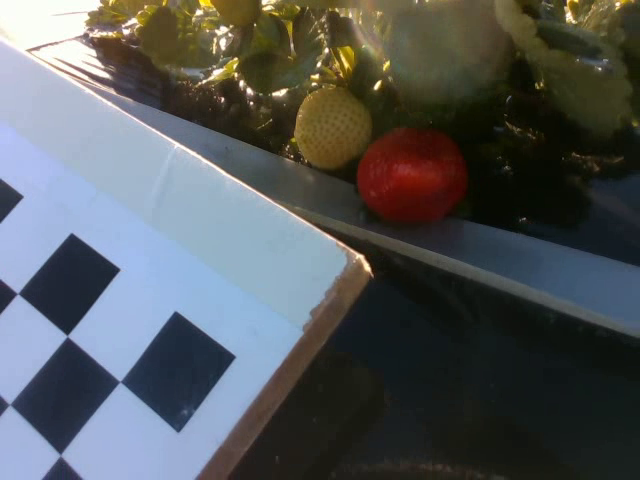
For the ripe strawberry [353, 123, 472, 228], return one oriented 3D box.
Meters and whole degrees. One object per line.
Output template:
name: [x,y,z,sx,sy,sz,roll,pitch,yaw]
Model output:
ripe strawberry: [0.035,-0.025,0.222,0.045,0.049,0.064,-34,3,4]
